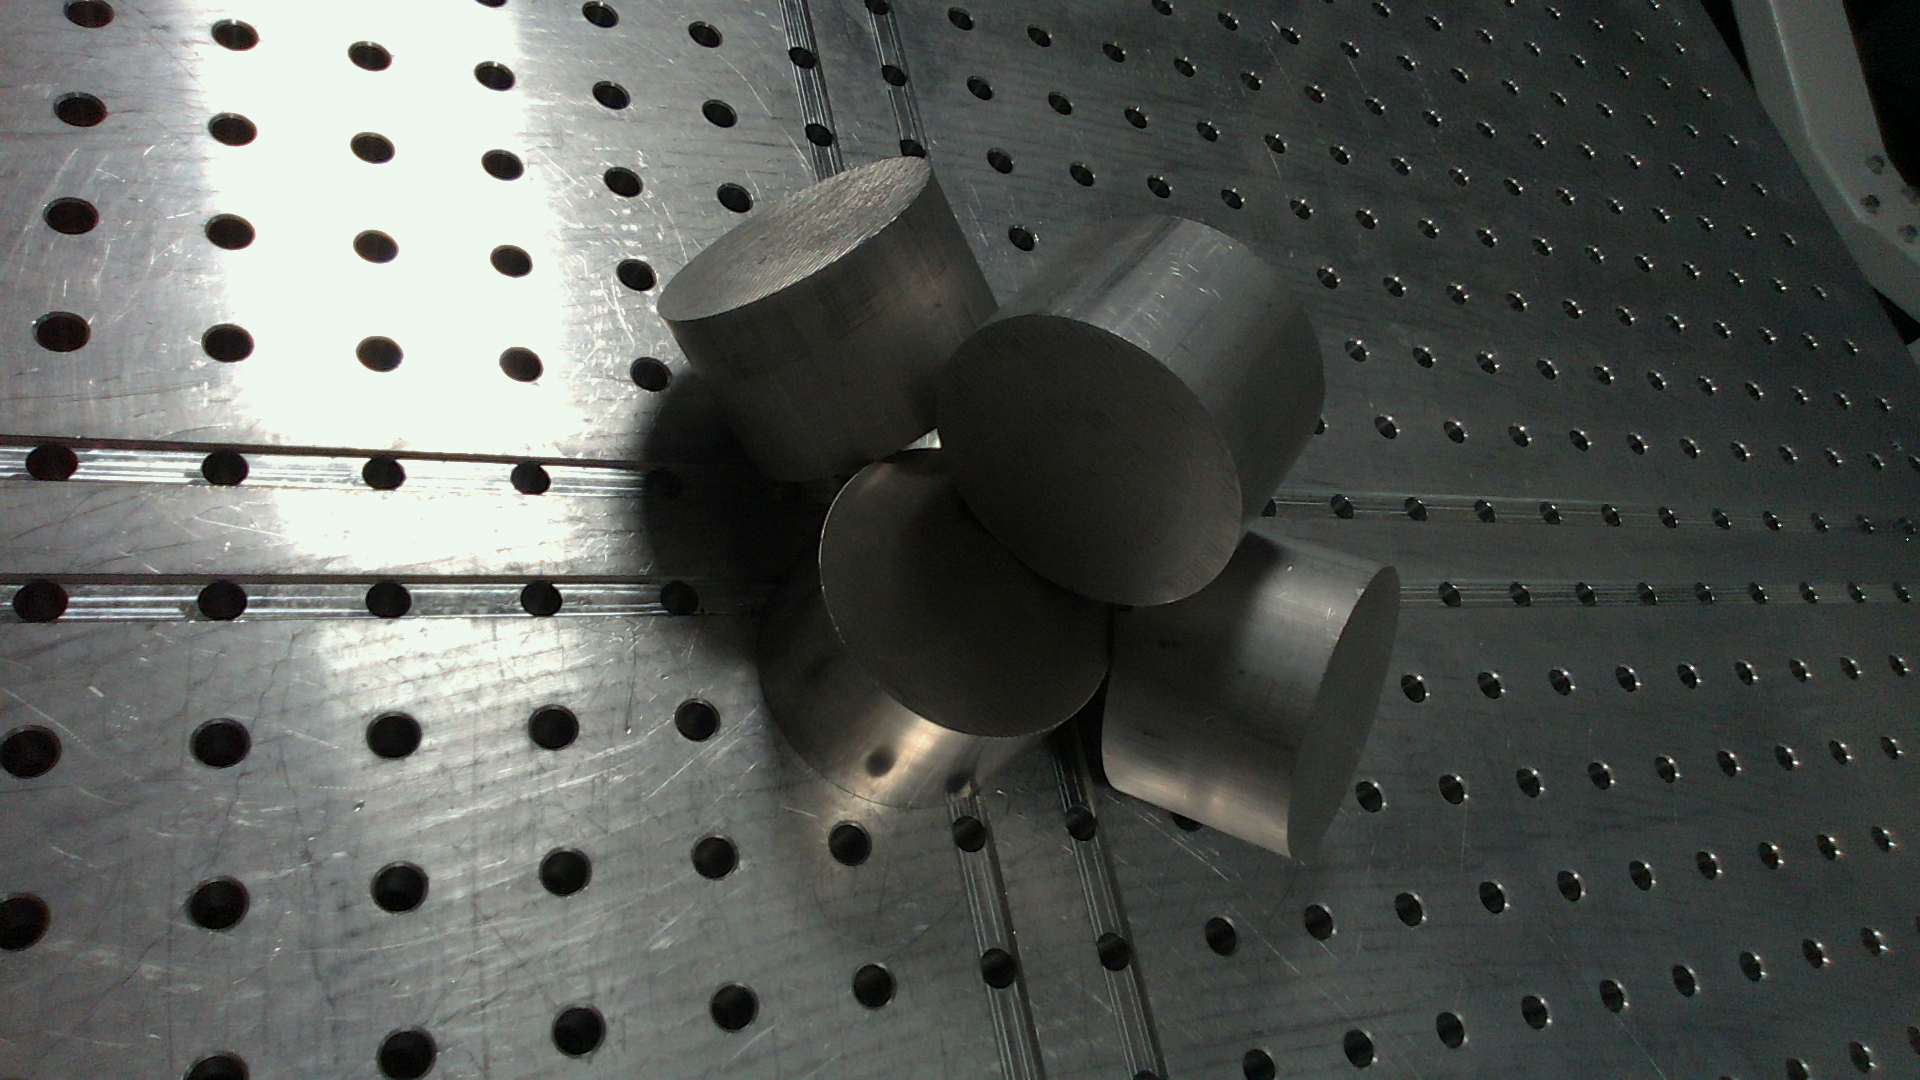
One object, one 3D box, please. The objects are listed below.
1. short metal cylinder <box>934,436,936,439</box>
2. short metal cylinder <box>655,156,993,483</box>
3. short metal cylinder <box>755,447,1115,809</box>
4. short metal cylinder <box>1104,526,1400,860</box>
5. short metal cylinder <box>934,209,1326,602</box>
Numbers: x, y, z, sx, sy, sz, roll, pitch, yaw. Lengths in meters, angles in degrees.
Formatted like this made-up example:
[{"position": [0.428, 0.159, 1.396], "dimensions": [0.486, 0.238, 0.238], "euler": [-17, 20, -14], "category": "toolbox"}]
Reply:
[{"position": [0.036, -0.023, 0.409], "dimensions": [0.080, 0.050, 0.080], "euler": [14, 56, -21], "category": "short metal cylinder"}, {"position": [-0.033, -0.060, 0.367], "dimensions": [0.080, 0.080, 0.050], "euler": [-55, 128, -39], "category": "short metal cylinder"}, {"position": [-0.007, 0.023, 0.358], "dimensions": [0.080, 0.050, 0.080], "euler": [14, 56, -21], "category": "short metal cylinder"}, {"position": [0.079, 0.038, 0.367], "dimensions": [0.050, 0.080, 0.080], "euler": [17, 45, 27], "category": "short metal cylinder"}, {"position": [0.041, -0.032, 0.333], "dimensions": [0.080, 0.080, 0.050], "euler": [41, 51, 0], "category": "short metal cylinder"}]
